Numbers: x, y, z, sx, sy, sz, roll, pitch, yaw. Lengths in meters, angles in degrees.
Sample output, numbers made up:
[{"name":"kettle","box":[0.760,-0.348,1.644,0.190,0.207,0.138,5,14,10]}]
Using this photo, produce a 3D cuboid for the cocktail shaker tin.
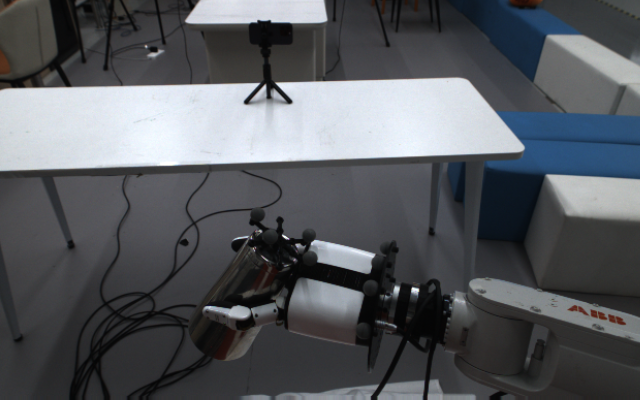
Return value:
[{"name":"cocktail shaker tin","box":[-0.093,0.112,0.617,0.093,0.170,0.093,26,32,-18]}]
